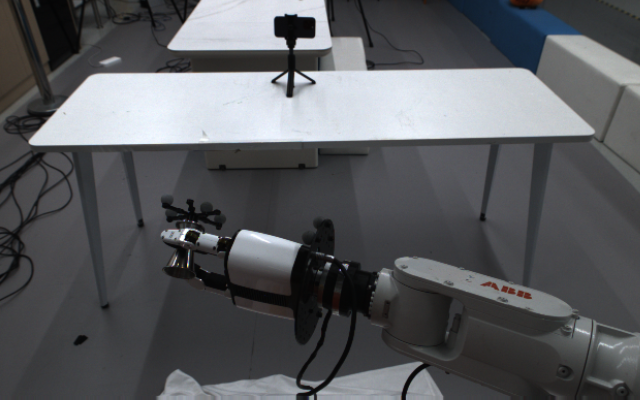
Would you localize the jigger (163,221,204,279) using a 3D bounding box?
[{"bbox_3d":[-0.182,0.065,0.647,0.043,0.043,0.071,4,61,3],"label":"jigger"}]
